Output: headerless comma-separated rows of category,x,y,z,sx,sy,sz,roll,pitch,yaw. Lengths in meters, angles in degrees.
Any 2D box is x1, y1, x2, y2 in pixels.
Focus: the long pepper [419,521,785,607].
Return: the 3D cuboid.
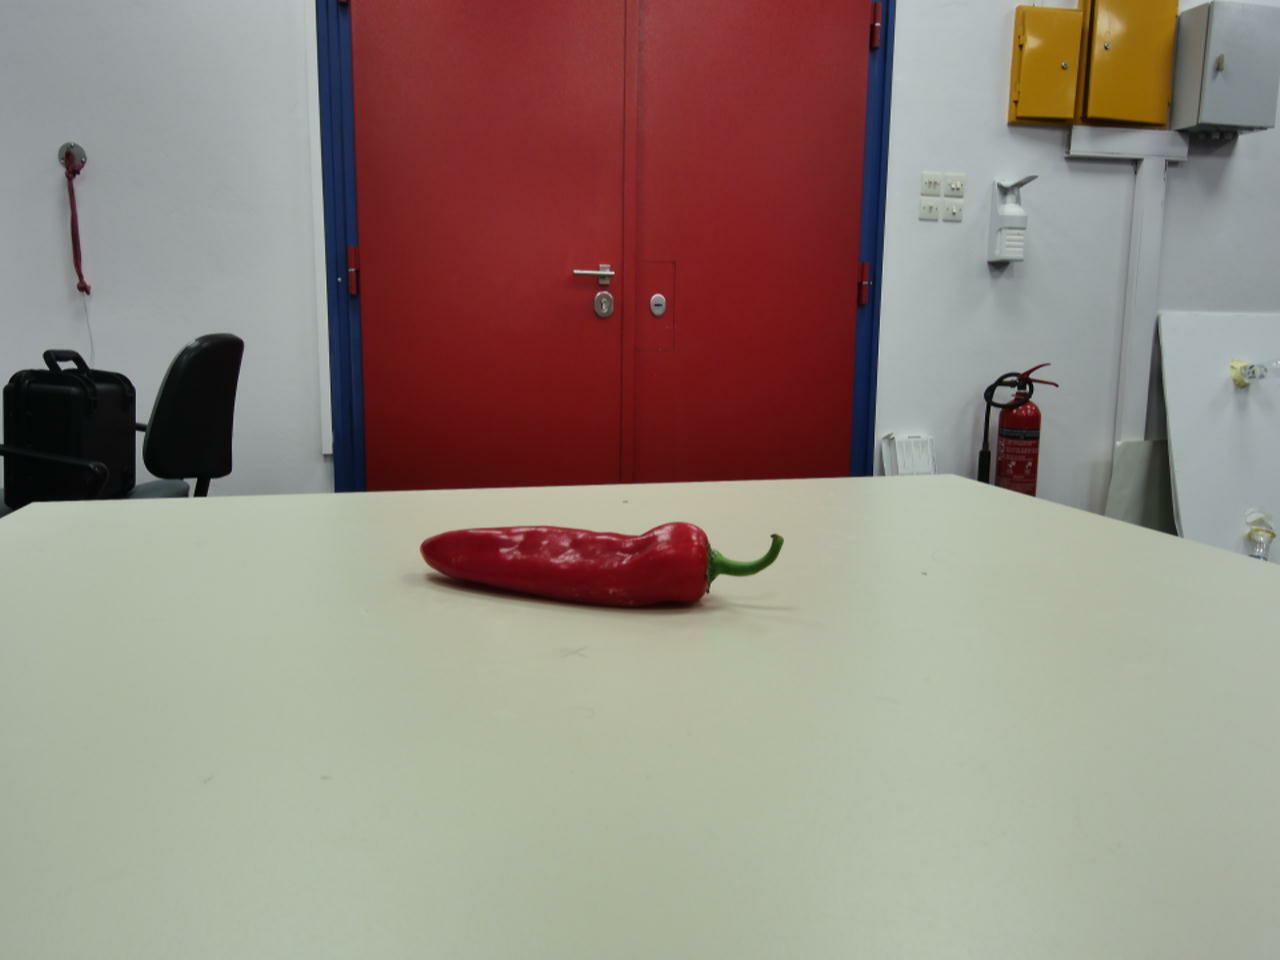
long pepper,-0.029,0.042,0.537,0.211,0.043,0.050,2,7,19
